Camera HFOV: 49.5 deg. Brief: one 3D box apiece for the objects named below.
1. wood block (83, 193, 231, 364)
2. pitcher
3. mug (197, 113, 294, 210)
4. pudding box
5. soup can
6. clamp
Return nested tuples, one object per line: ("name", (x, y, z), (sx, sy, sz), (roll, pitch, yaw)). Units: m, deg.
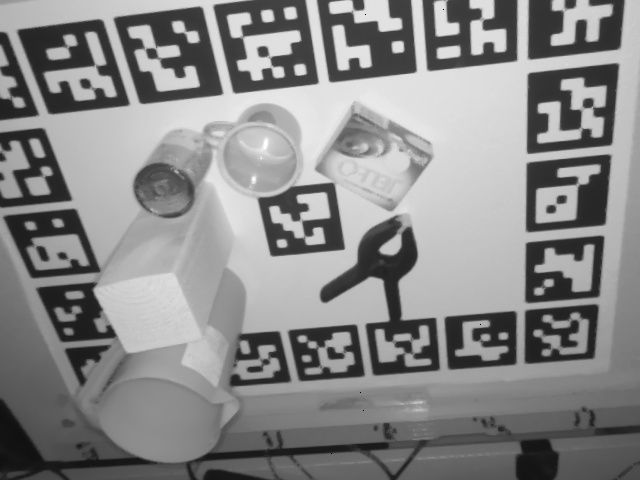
("wood block", (-0.180, 0.037, 0.807), (0.089, 0.208, 0.090), (-7, 120, 11))
("pitcher", (-0.187, 0.151, 0.855), (0.189, 0.244, 0.132), (-8, 122, 4))
("mug", (-0.084, -0.100, 0.798), (0.118, 0.082, 0.092), (25, 121, -13))
("pudding box", (0.065, -0.086, 0.829), (0.114, 0.039, 0.089), (27, 115, -13))
("soup can", (-0.174, -0.068, 0.806), (0.068, 0.103, 0.067), (1, 118, 3))
("clamp", (0.068, 0.051, 0.914), (0.122, 0.037, 0.163), (22, 118, -2))
